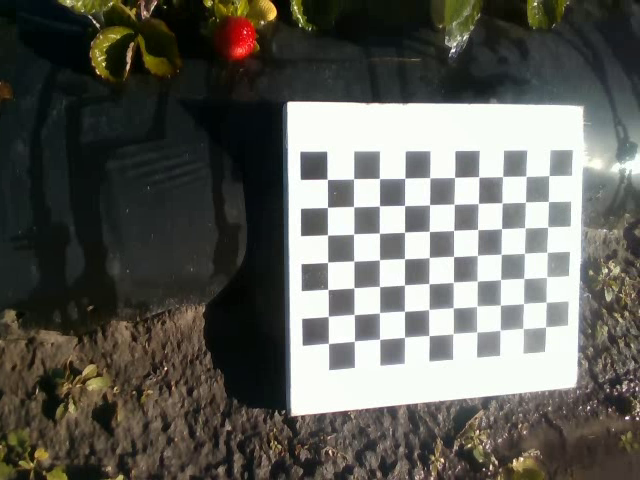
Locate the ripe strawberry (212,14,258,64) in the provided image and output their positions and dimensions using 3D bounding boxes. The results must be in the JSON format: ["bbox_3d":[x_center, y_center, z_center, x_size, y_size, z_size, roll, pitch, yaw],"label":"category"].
[{"bbox_3d":[-0.056,-0.128,0.377,0.039,0.040,0.039,-11,32,-2],"label":"ripe strawberry"}]
